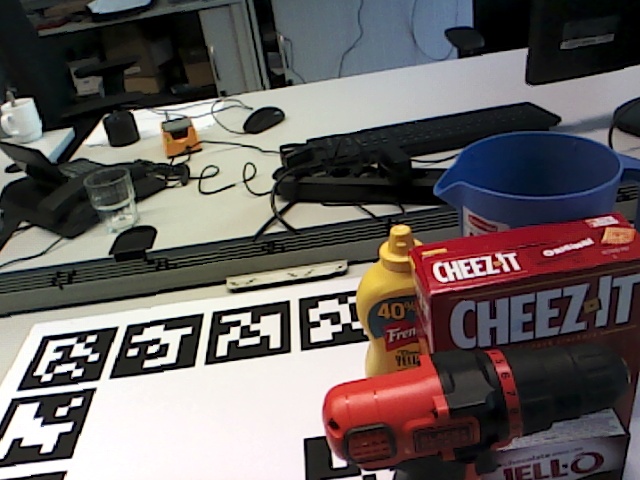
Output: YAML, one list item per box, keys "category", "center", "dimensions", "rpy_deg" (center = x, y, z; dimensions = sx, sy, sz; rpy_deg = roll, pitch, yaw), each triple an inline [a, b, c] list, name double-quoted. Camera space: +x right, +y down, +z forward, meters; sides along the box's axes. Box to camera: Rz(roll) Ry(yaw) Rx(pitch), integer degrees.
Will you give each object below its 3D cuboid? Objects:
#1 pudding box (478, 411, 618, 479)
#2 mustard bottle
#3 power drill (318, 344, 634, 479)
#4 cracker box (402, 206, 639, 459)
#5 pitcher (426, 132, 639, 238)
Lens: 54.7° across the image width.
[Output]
- category: "pudding box"
  center: [0.168, 0.167, 0.484]
  dimensions: [0.114, 0.089, 0.039]
  rpy_deg: [-11, 30, 5]
- category: "mustard bottle"
  center: [0.074, 0.061, 0.590]
  dimensions: [0.096, 0.191, 0.058]
  rpy_deg: [-2, 34, 13]
- category: "power drill"
  center: [0.100, 0.152, 0.397]
  dimensions: [0.184, 0.186, 0.057]
  rpy_deg: [-9, 28, 1]
- category: "cracker box"
  center: [0.165, 0.096, 0.497]
  dimensions: [0.164, 0.213, 0.072]
  rpy_deg: [-12, 30, 2]
- category: "pitcher"
  center: [0.204, 0.030, 0.579]
  dimensions: [0.189, 0.241, 0.133]
  rpy_deg: [-8, 32, 9]
